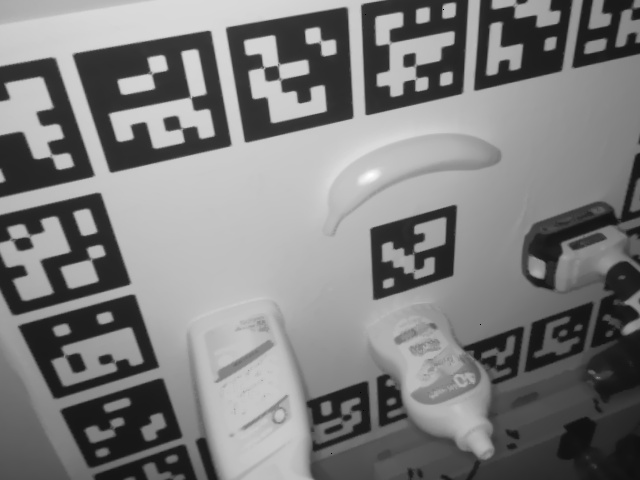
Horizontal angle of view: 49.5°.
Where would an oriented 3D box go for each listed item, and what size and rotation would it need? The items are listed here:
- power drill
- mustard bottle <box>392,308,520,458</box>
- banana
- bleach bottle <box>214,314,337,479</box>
[{"bbox_3d":[0.334,0.077,0.718,0.186,0.186,0.057,-23,125,-12],"label":"power drill"},{"bbox_3d":[0.152,0.152,0.727,0.097,0.191,0.058,-22,125,-6],"label":"mustard bottle"},{"bbox_3d":[0.107,-0.057,0.666,0.199,0.039,0.074,-22,123,-12],"label":"banana"},{"bbox_3d":[-0.027,0.168,0.624,0.104,0.250,0.067,-9,122,-16],"label":"bleach bottle"}]
